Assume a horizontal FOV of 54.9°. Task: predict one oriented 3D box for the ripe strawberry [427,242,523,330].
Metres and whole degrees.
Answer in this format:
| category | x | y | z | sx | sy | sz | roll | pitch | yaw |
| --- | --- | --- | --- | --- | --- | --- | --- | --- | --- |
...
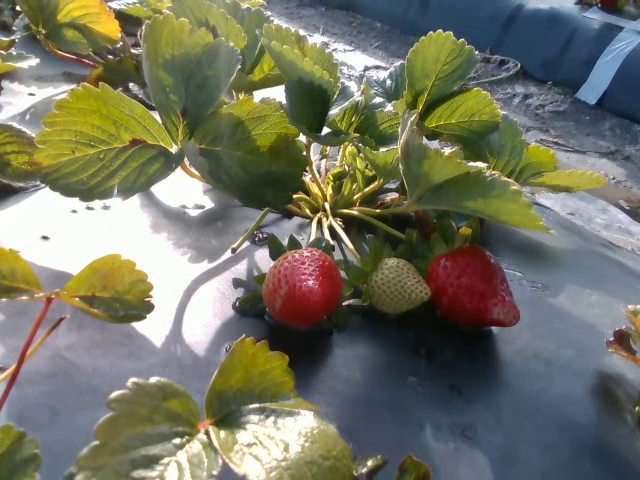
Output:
| category | x | y | z | sx | sy | sz | roll | pitch | yaw |
| --- | --- | --- | --- | --- | --- | --- | --- | --- | --- |
| ripe strawberry | 0.085 | 0.028 | 0.327 | 0.048 | 0.065 | 0.050 | -37 | -44 | 3 |
